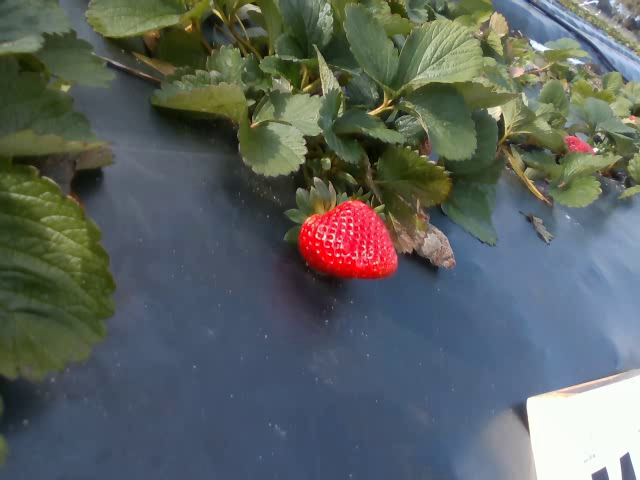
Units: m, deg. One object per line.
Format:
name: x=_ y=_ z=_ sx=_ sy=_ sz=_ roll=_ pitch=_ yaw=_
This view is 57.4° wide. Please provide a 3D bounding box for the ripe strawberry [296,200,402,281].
ripe strawberry: x=0.016 y=0.002 z=0.268 sx=0.046 sy=0.050 sz=0.058 roll=12 pitch=22 yaw=-46
